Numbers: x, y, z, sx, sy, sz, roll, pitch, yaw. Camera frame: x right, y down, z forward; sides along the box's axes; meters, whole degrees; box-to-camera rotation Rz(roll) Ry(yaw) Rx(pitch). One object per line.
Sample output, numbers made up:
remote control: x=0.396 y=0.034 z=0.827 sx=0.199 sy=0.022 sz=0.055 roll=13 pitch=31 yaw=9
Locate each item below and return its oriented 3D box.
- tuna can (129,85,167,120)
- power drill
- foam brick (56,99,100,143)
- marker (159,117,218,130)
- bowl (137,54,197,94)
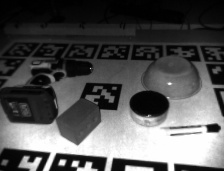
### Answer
tuna can: x=0.081 y=0.038 z=0.492 sx=0.086 sy=0.034 sz=0.085 roll=0 pitch=40 yaw=1
power drill: x=-0.170 y=-0.006 z=0.556 sx=0.184 sy=0.057 sz=0.186 roll=4 pitch=38 yaw=4
foam brick: x=-0.070 y=0.072 z=0.461 sx=0.051 sy=0.053 sz=0.078 roll=19 pitch=46 yaw=25
marker: x=0.159 y=0.078 z=0.447 sx=0.121 sy=0.020 sz=0.019 roll=-5 pitch=41 yaw=-1
bowl: x=0.146 y=-0.043 z=0.585 sx=0.161 sy=0.055 sz=0.161 roll=-4 pitch=32 yaw=3
